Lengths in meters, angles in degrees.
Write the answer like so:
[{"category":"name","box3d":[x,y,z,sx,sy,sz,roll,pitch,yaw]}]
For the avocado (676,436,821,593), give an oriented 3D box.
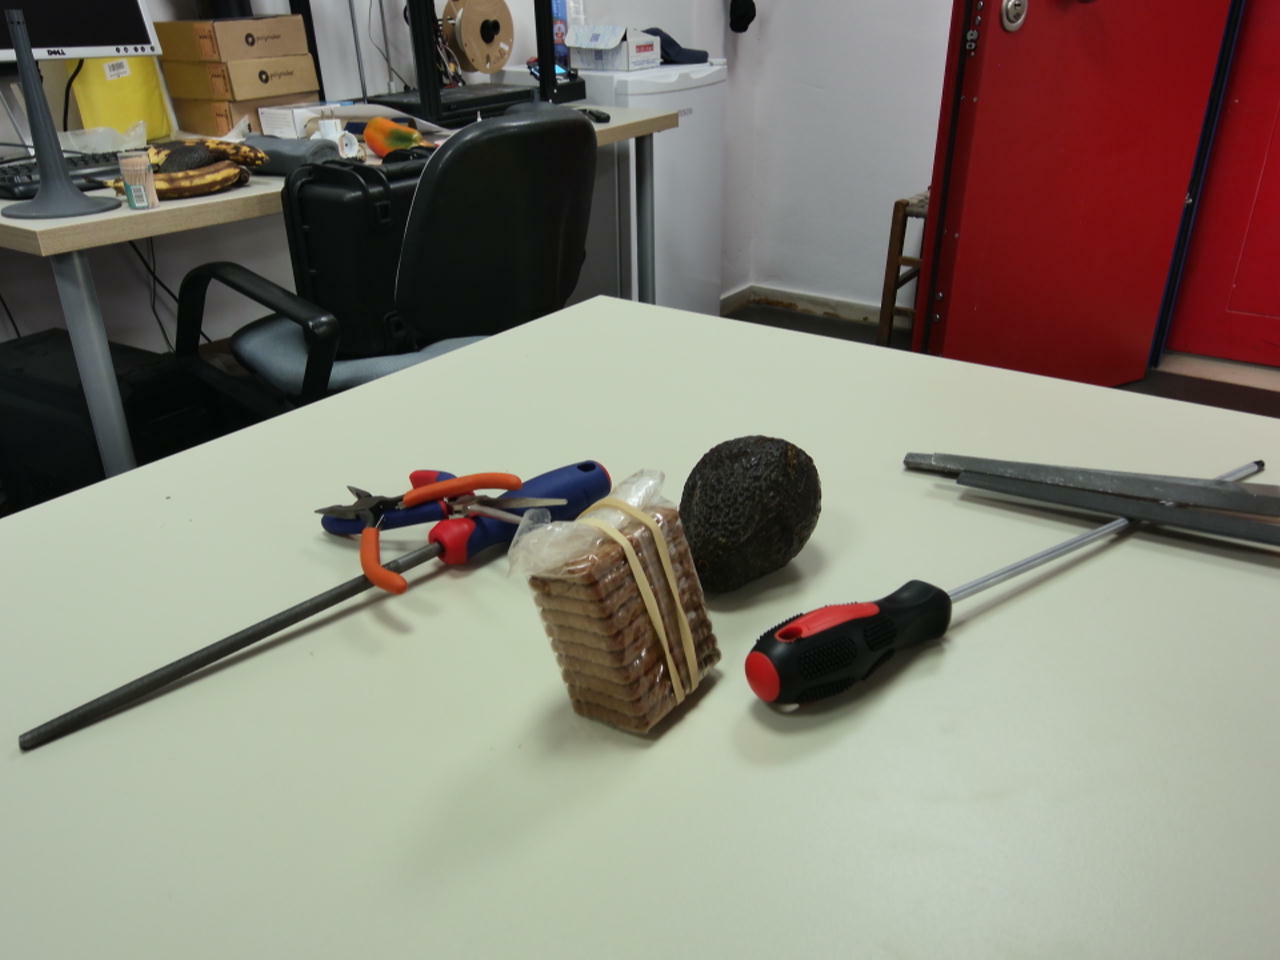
[{"category":"avocado","box3d":[0.053,0.013,0.517,0.090,0.069,0.070,-11,27,-25]}]
